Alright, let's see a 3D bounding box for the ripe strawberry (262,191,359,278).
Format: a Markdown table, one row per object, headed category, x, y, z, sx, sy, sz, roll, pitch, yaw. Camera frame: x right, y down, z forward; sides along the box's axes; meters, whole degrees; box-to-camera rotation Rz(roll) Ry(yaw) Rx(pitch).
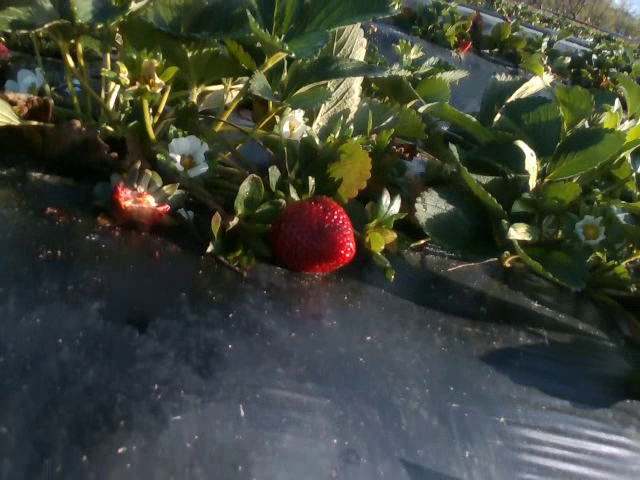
| category | x | y | z | sx | sy | sz | roll | pitch | yaw |
| --- | --- | --- | --- | --- | --- | --- | --- | --- | --- |
| ripe strawberry | 0.000 | -0.002 | 0.294 | 0.052 | 0.041 | 0.051 | -12 | 14 | -19 |
